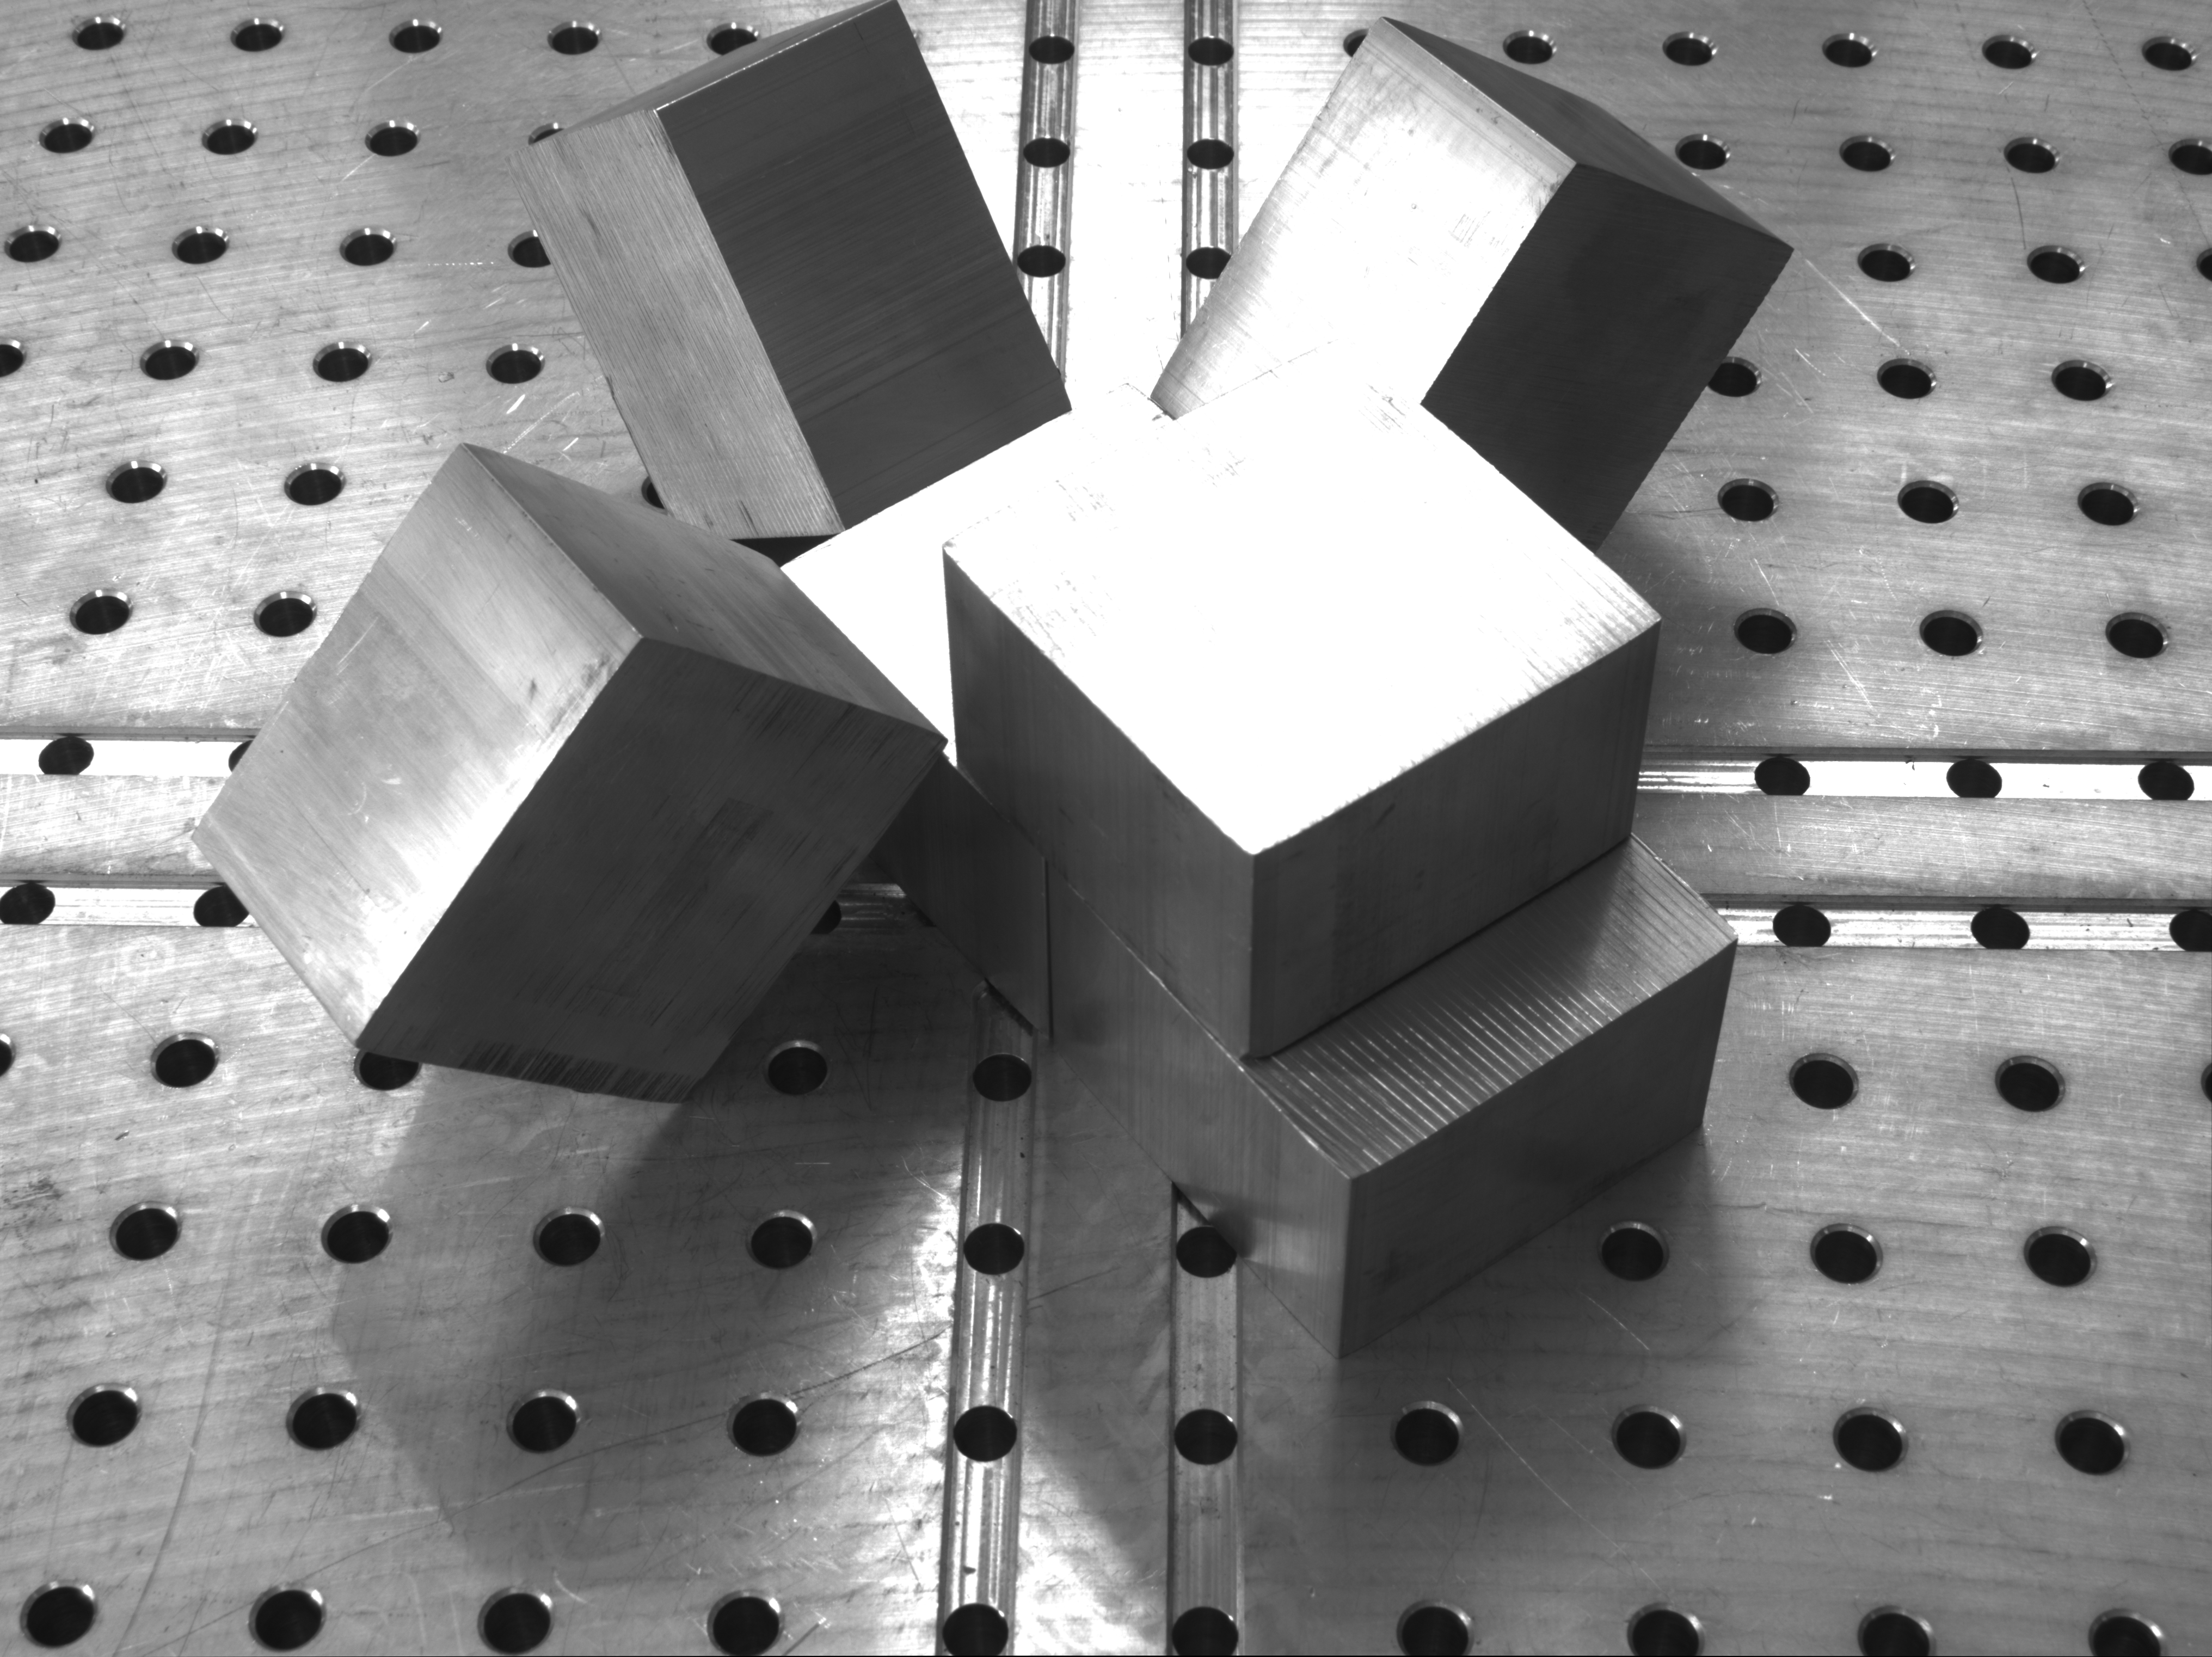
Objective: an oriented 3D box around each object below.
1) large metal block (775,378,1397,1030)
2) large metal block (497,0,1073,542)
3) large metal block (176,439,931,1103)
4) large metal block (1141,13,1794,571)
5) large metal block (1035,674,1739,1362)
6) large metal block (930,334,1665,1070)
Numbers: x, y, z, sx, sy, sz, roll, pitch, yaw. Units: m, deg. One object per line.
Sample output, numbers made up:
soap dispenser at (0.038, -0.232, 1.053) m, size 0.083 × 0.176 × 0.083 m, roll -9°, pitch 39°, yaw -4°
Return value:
large metal block at (-0.003, -0.023, 0.648) m, size 0.080 × 0.050 × 0.080 m, roll -31°, pitch 56°, yaw -23°
large metal block at (-0.060, -0.100, 0.674) m, size 0.050 × 0.080 × 0.080 m, roll -31°, pitch 17°, yaw -23°
large metal block at (-0.088, -0.007, 0.596) m, size 0.050 × 0.080 × 0.080 m, roll 44°, pitch 104°, yaw 31°
large metal block at (0.066, -0.092, 0.667) m, size 0.050 × 0.080 × 0.080 m, roll 44°, pitch 23°, yaw 31°
large metal block at (0.044, 0.027, 0.606) m, size 0.080 × 0.050 × 0.080 m, roll -29°, pitch 54°, yaw -23°
large metal block at (0.029, -0.022, 0.581) m, size 0.080 × 0.050 × 0.080 m, roll -29°, pitch 56°, yaw -24°
